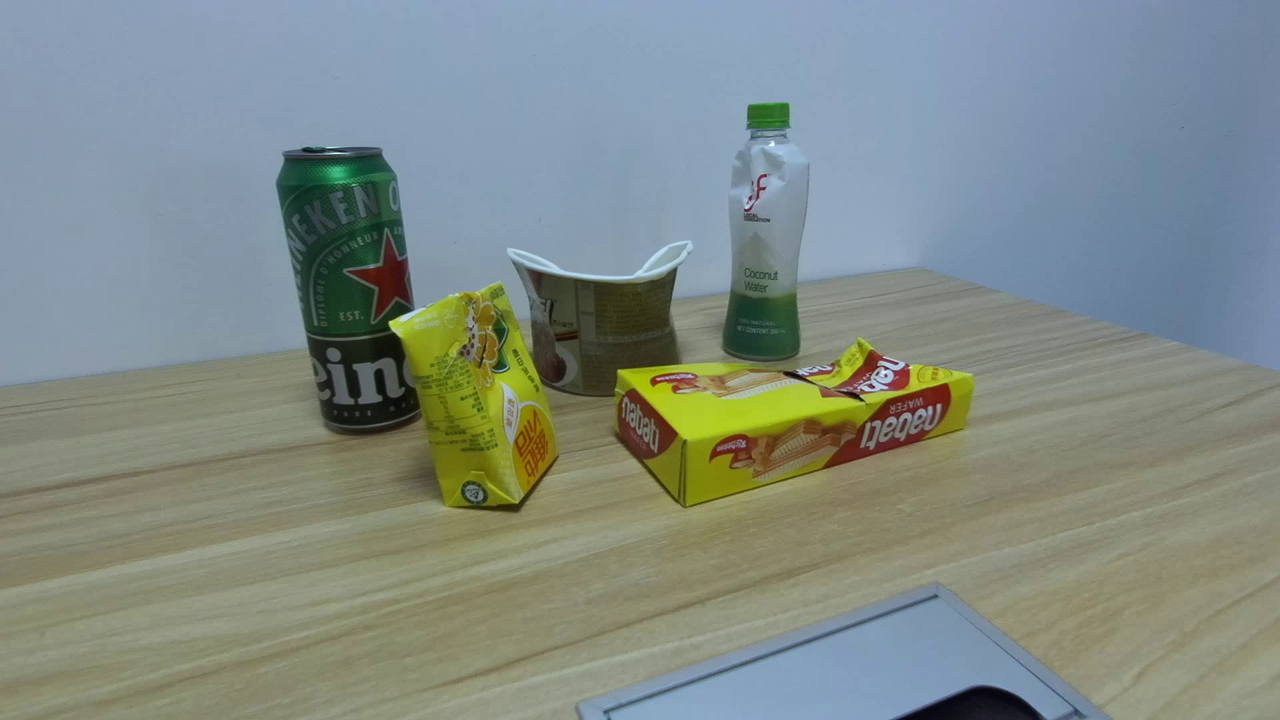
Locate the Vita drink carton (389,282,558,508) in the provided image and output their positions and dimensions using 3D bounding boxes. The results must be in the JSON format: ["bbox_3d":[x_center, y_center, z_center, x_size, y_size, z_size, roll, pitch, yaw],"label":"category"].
[{"bbox_3d":[-0.085,0.016,0.371,0.042,0.108,0.087,-10,14,17],"label":"Vita drink carton"}]

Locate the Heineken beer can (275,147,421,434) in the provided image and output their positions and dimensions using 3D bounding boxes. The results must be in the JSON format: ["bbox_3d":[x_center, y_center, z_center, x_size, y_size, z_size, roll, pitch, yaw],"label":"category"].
[{"bbox_3d":[-0.173,-0.041,0.435,0.067,0.169,0.067,-2,20,1],"label":"Heineken beer can"}]

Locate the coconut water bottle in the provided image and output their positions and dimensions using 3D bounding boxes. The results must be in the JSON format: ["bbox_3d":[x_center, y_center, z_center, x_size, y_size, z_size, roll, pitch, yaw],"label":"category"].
[{"bbox_3d":[0.095,-0.096,0.540,0.069,0.186,0.069,-1,18,1],"label":"coconut water bottle"}]

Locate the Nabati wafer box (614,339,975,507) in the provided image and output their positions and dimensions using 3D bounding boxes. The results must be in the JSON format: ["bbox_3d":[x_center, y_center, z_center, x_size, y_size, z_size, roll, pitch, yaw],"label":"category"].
[{"bbox_3d":[0.094,0.025,0.432,0.205,0.042,0.106,-9,23,-23],"label":"Nabati wafer box"}]

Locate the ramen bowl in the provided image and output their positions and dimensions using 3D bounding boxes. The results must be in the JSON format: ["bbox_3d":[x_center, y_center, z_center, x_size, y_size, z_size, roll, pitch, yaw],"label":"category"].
[{"bbox_3d":[-0.028,-0.034,0.513,0.137,0.098,0.137,-3,21,1],"label":"ramen bowl"}]
